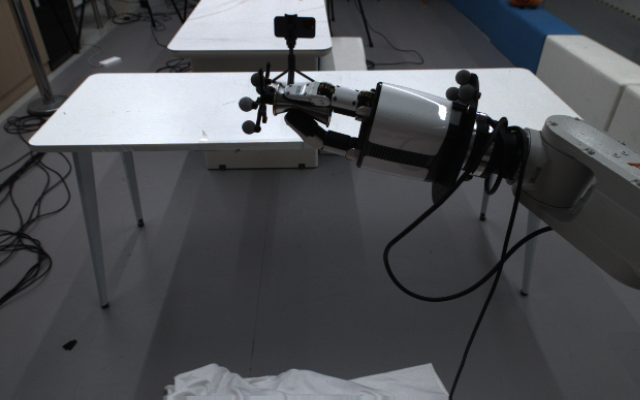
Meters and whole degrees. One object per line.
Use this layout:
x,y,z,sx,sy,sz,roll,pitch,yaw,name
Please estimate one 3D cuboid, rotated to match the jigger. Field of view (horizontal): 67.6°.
-0.013,-0.120,0.587,0.071,0.043,0.043,11,35,3,jigger
